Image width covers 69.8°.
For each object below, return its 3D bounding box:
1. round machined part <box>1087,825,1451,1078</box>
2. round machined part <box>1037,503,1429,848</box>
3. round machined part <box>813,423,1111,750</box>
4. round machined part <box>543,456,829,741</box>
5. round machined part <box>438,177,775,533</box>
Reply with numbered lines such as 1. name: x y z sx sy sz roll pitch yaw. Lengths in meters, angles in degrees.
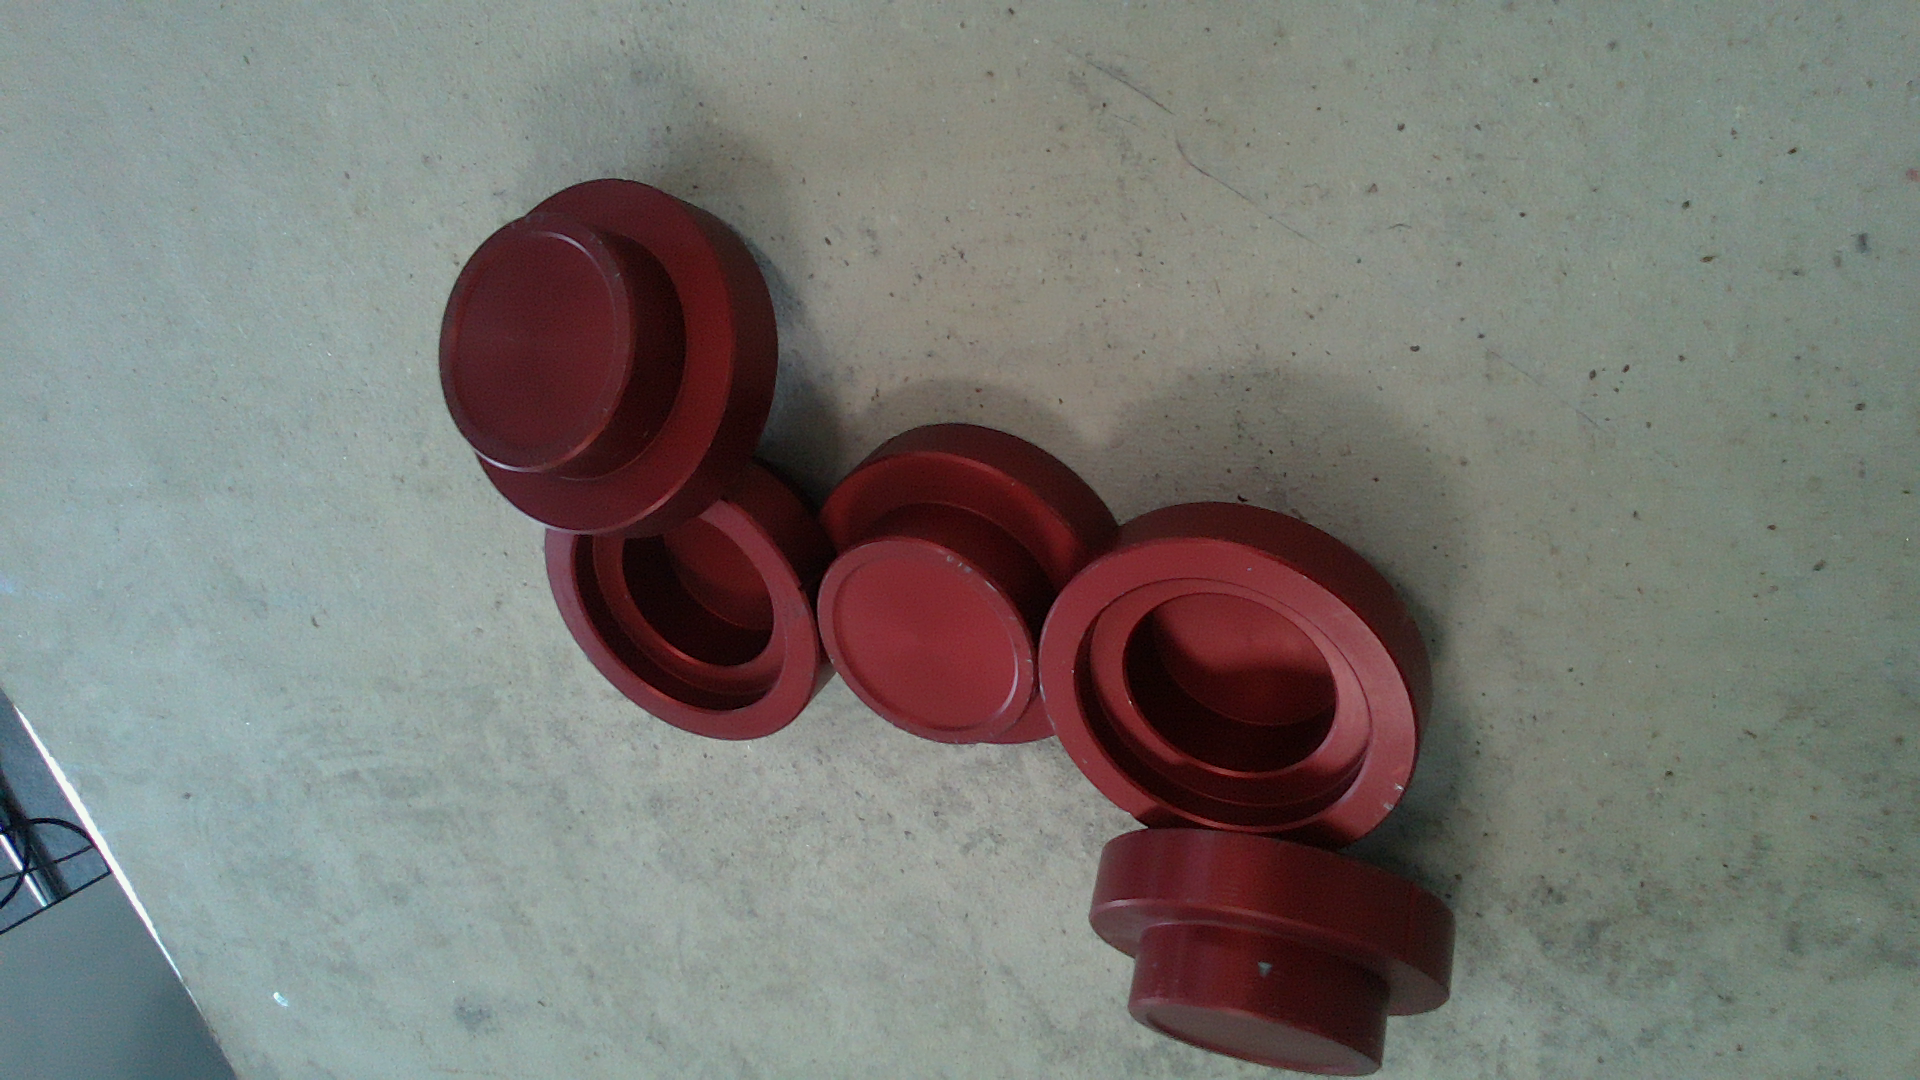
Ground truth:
1. round machined part: 0.083 0.118 0.381 0.098 0.042 0.098 13 152 7
2. round machined part: 0.073 0.033 0.362 0.098 0.042 0.098 14 125 21
3. round machined part: -0.002 0.019 0.394 0.098 0.042 0.098 14 122 23
4. round machined part: -0.077 0.011 0.430 0.098 0.042 0.098 14 125 21
5. round machined part: -0.103 -0.051 0.377 0.098 0.042 0.098 -1 87 27
